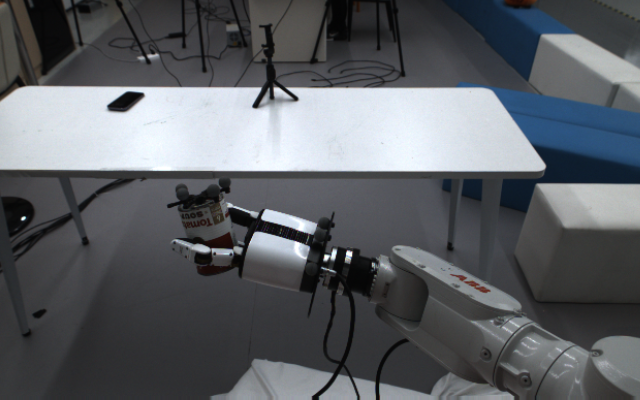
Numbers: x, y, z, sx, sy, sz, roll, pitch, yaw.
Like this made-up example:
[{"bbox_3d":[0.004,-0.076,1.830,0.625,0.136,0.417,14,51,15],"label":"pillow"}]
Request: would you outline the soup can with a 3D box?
[{"bbox_3d":[-0.155,0.049,0.691,0.067,0.101,0.067,-13,17,4],"label":"soup can"}]
